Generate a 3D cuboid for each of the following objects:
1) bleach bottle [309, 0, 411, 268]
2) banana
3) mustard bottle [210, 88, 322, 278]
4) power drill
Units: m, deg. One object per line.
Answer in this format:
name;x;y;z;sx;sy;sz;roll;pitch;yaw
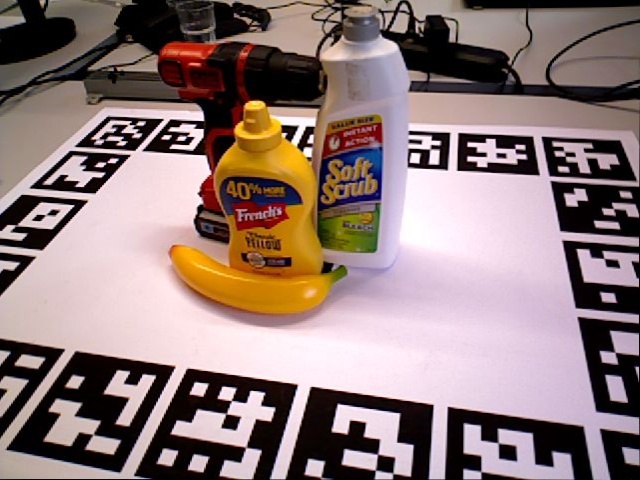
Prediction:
bleach bottle;0.030;-0.093;0.508;0.103;0.256;0.066;8;37;14
banana;-0.071;0.038;0.538;0.198;0.039;0.072;7;43;18
mustard bottle;-0.050;-0.045;0.498;0.096;0.195;0.057;7;42;12
power drill;-0.075;-0.109;0.544;0.185;0.191;0.056;15;43;20
